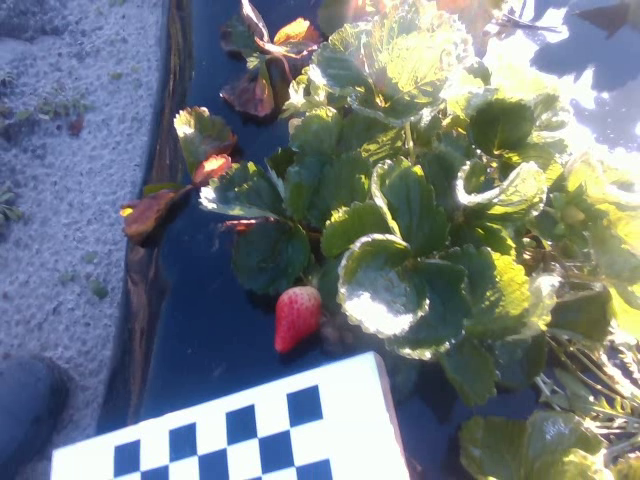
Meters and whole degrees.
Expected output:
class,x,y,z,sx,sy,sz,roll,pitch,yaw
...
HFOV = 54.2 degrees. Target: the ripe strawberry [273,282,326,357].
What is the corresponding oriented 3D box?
class,x,y,z,sx,sy,sz,roll,pitch,yaw
ripe strawberry,-0.025,0.063,0.509,0.040,0.065,0.040,21,-13,31
